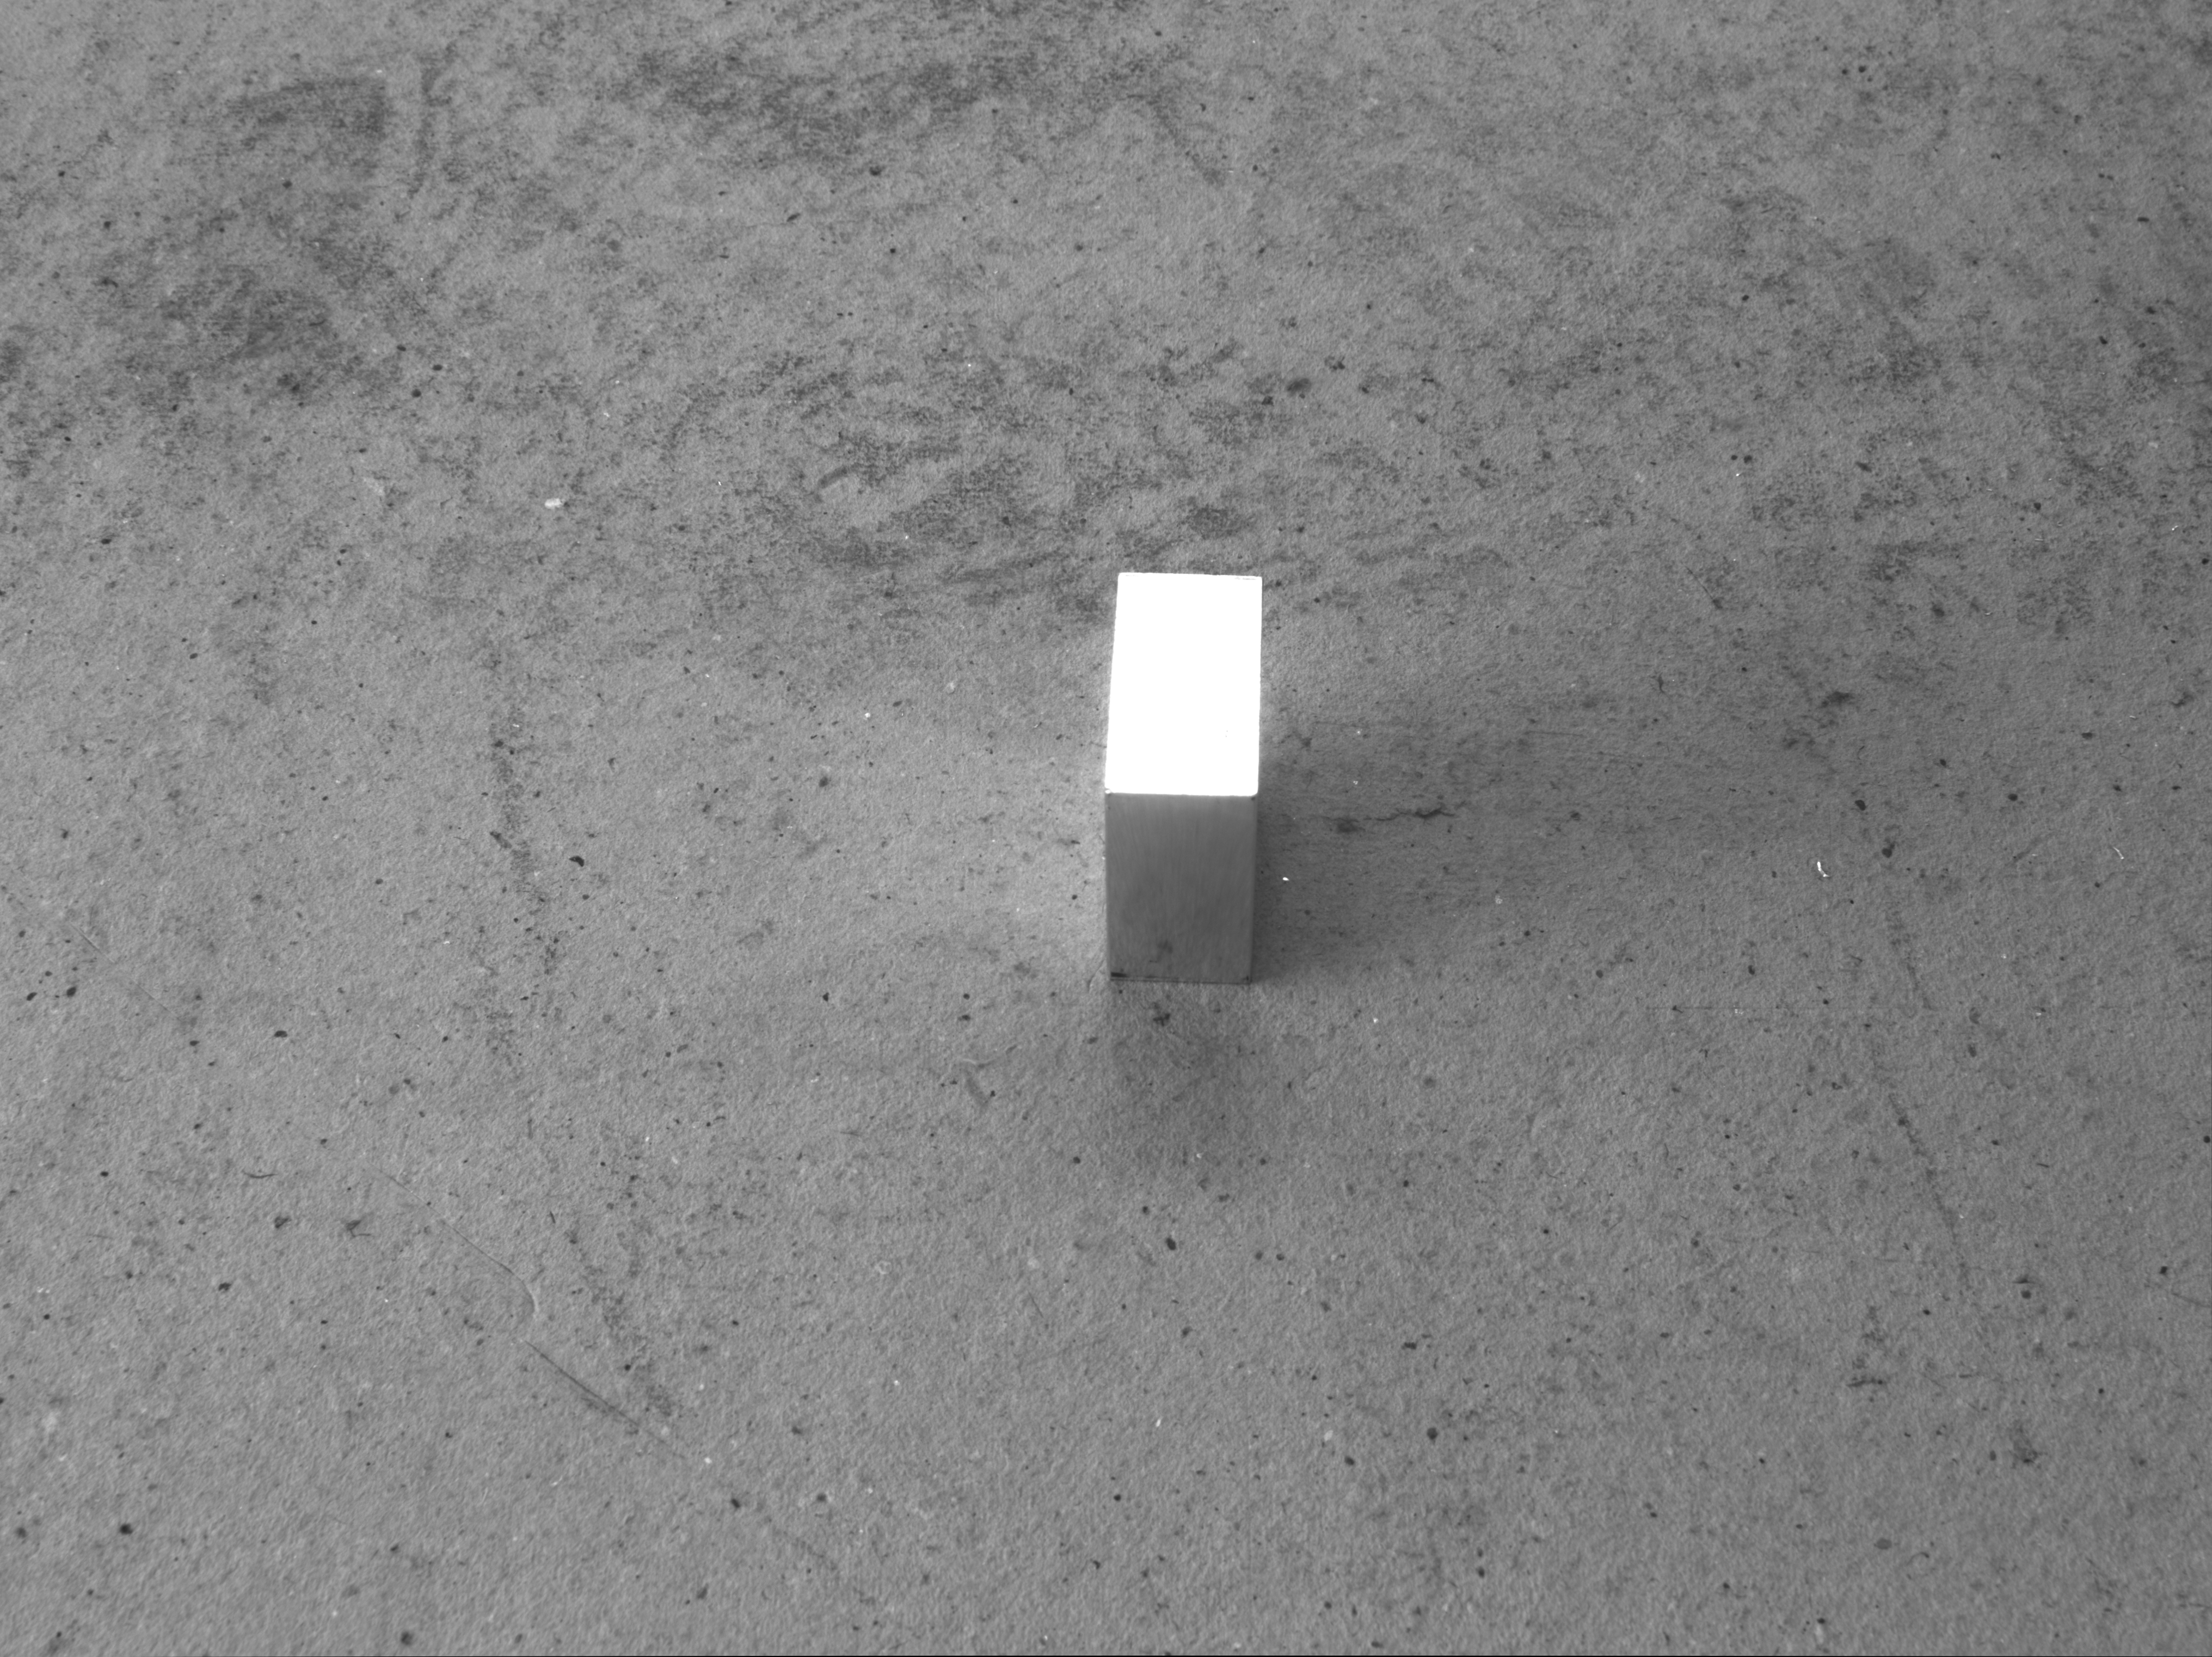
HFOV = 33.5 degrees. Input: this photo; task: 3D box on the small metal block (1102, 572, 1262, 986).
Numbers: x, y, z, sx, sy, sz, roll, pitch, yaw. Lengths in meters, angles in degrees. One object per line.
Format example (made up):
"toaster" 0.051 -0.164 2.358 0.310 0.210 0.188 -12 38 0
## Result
"small metal block" 0.013 -0.008 0.634 0.025 0.050 0.050 2 50 1
